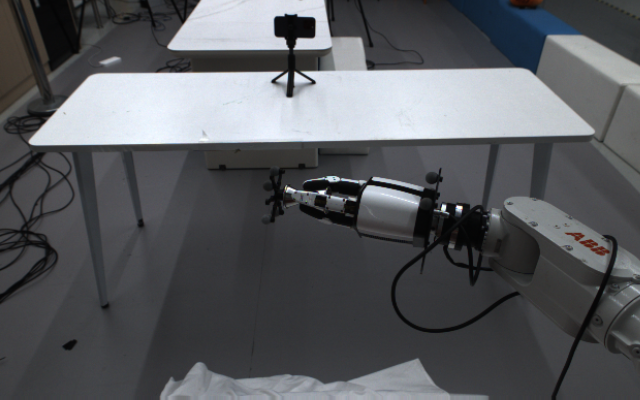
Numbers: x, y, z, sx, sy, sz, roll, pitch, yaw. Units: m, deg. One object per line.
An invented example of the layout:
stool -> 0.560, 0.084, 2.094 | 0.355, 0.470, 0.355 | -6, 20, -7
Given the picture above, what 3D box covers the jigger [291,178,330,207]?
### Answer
jigger -> -0.014, -0.006, 0.758 | 0.071, 0.043, 0.043 | 5, 34, 15
